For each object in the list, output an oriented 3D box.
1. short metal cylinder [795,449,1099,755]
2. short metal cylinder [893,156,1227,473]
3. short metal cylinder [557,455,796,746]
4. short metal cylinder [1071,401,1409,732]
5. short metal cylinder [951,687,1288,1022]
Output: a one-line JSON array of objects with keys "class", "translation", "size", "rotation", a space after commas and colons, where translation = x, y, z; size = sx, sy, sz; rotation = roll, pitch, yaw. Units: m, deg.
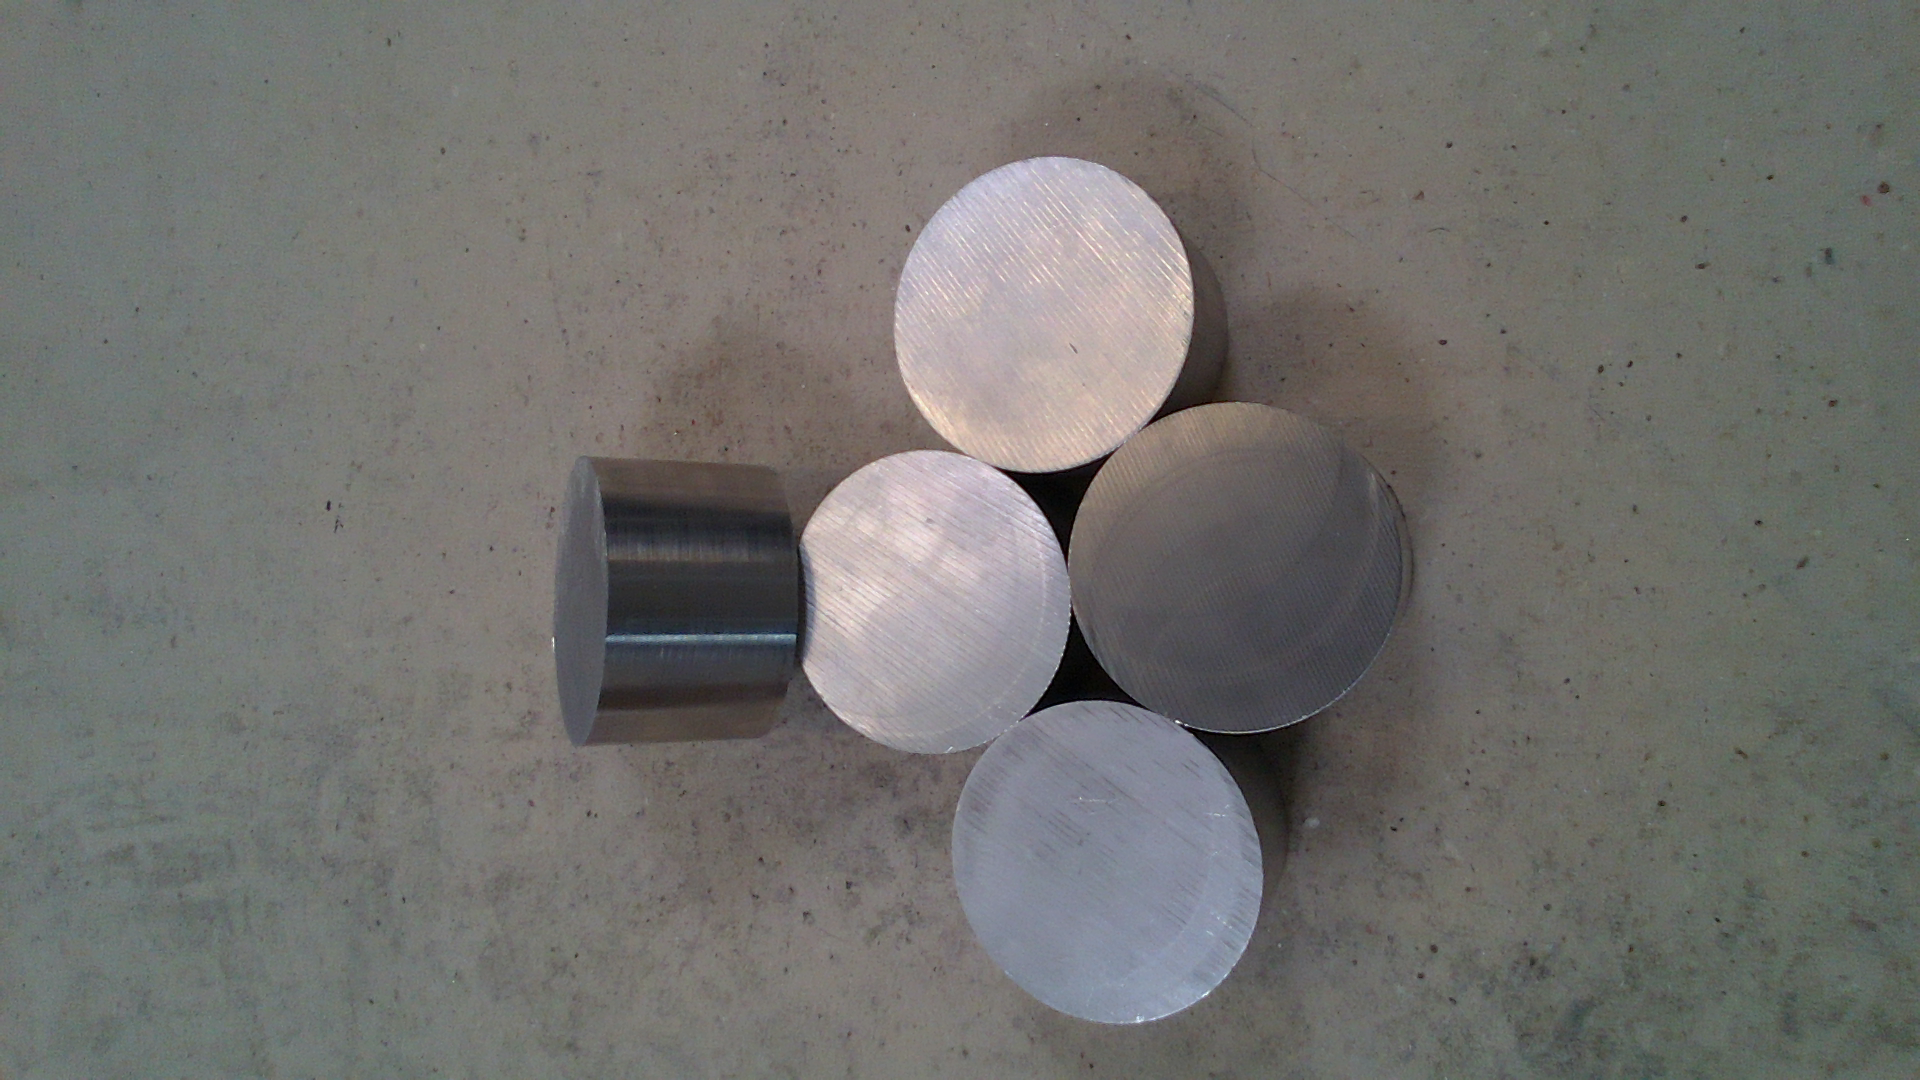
[{"class": "short metal cylinder", "translation": [-0.001, 0.016, 0.383], "size": [0.080, 0.050, 0.080], "rotation": [0, 90, 20]}, {"class": "short metal cylinder", "translation": [0.029, -0.057, 0.372], "size": [0.080, 0.050, 0.080], "rotation": [0, 90, 20]}, {"class": "short metal cylinder", "translation": [-0.083, 0.017, 0.391], "size": [0.080, 0.050, 0.080], "rotation": [174, 96, -64]}, {"class": "short metal cylinder", "translation": [0.074, 0.006, 0.356], "size": [0.080, 0.050, 0.080], "rotation": [0, 90, 20]}, {"class": "short metal cylinder", "translation": [0.044, 0.080, 0.367], "size": [0.080, 0.050, 0.080], "rotation": [0, 90, 20]}]
